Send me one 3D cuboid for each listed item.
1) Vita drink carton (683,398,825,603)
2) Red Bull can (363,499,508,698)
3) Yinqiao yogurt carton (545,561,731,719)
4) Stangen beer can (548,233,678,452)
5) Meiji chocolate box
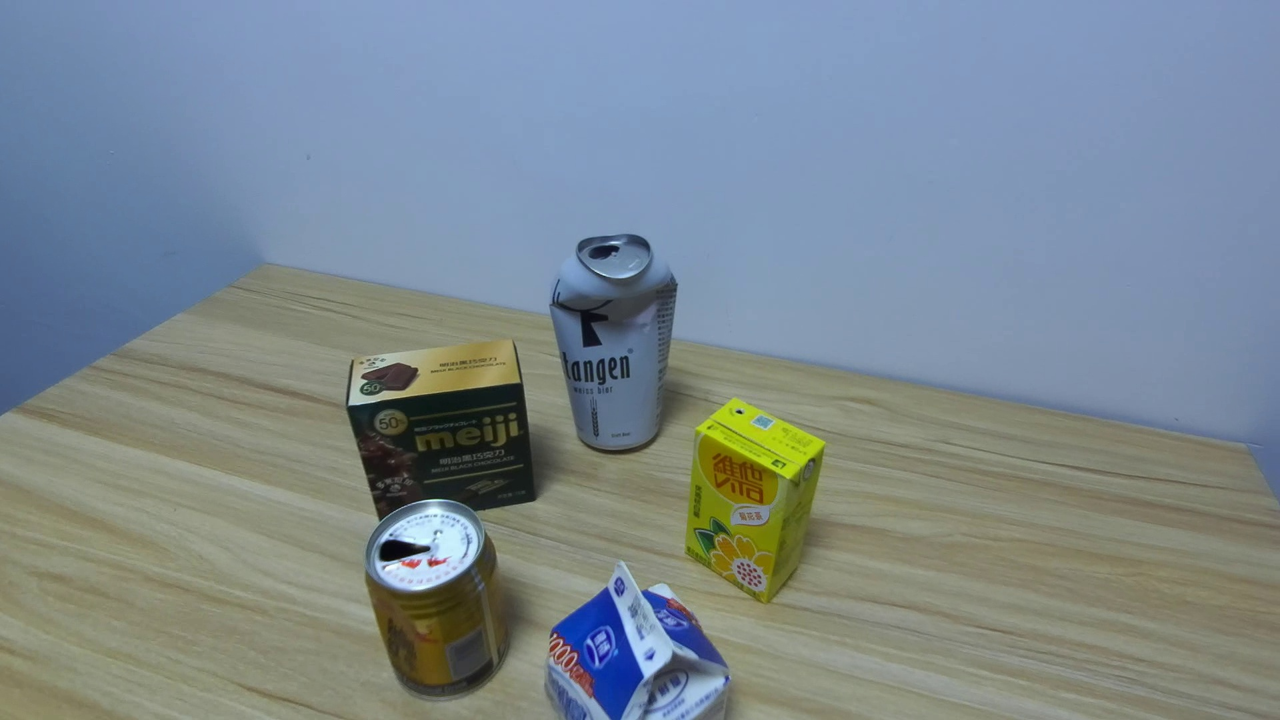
[{"bbox_3d":[0.068,0.086,0.432,0.066,0.109,0.044,26,42,31],"label":"Vita drink carton"},{"bbox_3d":[-0.109,0.129,0.381,0.069,0.092,0.069,1,35,0],"label":"Red Bull can"},{"bbox_3d":[-0.002,0.150,0.351,0.077,0.093,0.083,-19,39,-25],"label":"Yinqiao yogurt carton"},{"bbox_3d":[-0.018,-0.009,0.522,0.065,0.162,0.077,24,42,31],"label":"Stangen beer can"},{"bbox_3d":[-0.132,0.050,0.486,0.110,0.109,0.056,-8,36,-12],"label":"Meiji chocolate box"}]
